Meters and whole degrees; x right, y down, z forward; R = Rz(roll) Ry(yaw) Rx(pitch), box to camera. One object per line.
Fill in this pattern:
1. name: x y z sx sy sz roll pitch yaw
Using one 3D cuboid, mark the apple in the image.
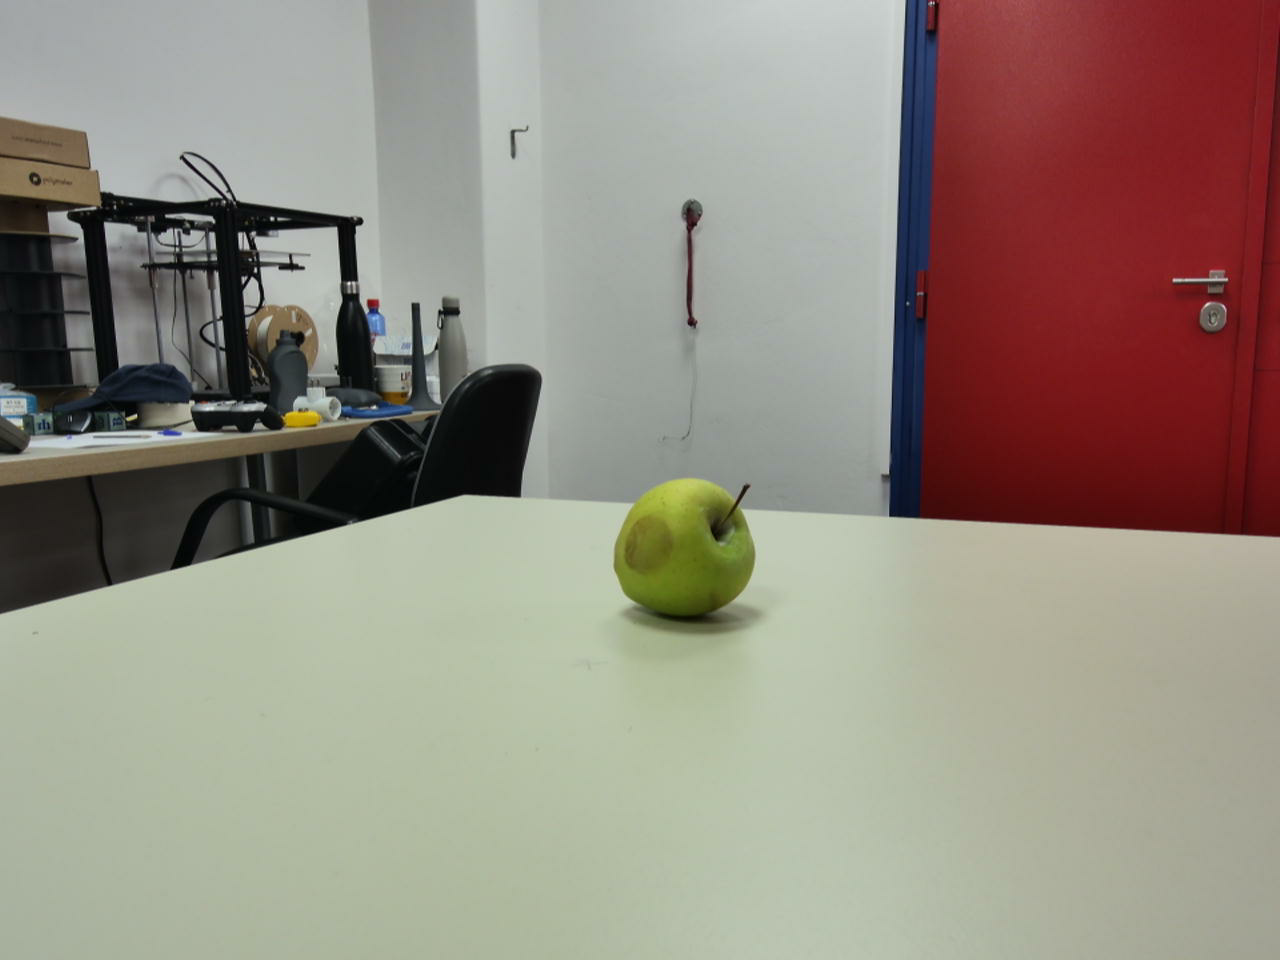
1. apple: 0.025 0.037 0.551 0.072 0.075 0.077 -3 6 -22
